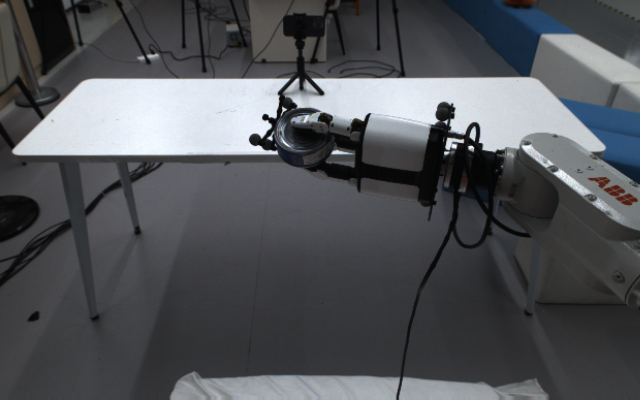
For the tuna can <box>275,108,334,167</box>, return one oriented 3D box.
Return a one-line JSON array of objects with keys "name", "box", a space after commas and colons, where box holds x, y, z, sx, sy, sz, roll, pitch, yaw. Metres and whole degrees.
[{"name": "tuna can", "box": [-0.019, -0.087, 0.690, 0.085, 0.034, 0.085, -1, 62, 1]}]
